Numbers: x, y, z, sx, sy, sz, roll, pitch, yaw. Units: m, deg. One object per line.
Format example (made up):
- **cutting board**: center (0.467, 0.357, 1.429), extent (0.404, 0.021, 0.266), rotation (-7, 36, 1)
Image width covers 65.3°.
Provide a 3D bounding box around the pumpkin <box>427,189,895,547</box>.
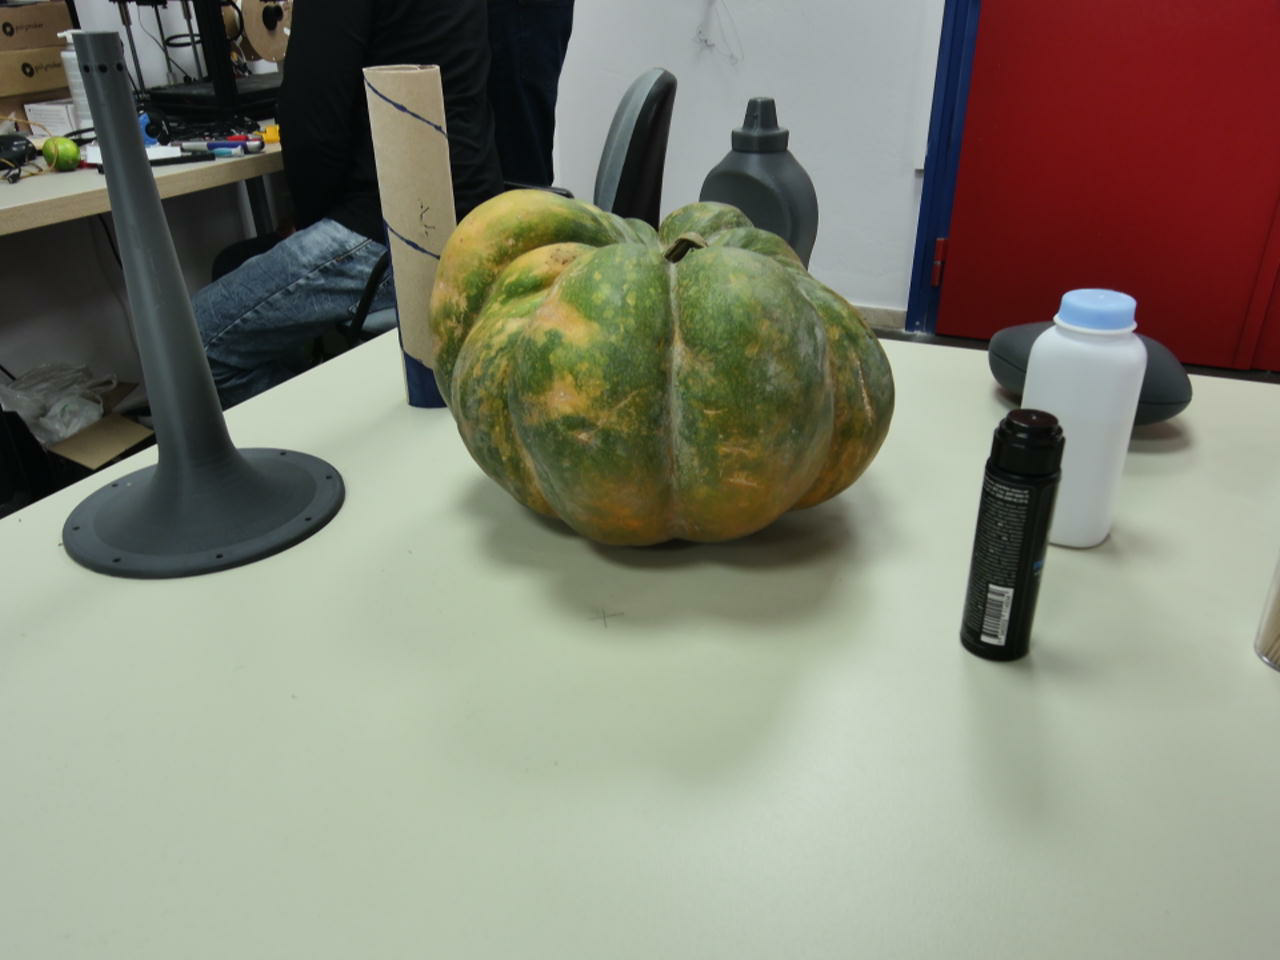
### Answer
- **pumpkin**: center (0.011, -0.069, 0.552), extent (0.237, 0.173, 0.270), rotation (-13, 28, -25)
